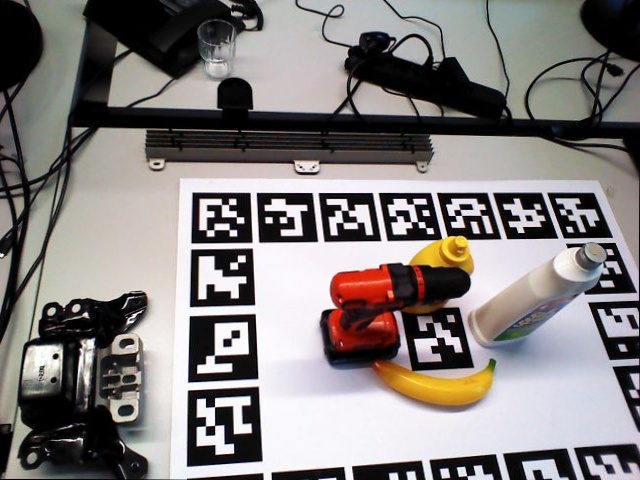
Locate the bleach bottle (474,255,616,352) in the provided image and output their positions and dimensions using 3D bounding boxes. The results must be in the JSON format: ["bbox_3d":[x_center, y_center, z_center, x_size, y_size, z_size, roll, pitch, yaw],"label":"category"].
[{"bbox_3d":[0.319,0.090,0.735,0.102,0.252,0.067,-7,64,-13],"label":"bleach bottle"}]

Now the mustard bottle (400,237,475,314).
[{"bbox_3d":[0.183,0.049,0.761,0.096,0.192,0.058,1,61,-10],"label":"mustard bottle"}]

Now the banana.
[{"bbox_3d":[0.187,0.210,0.759,0.197,0.039,0.074,2,65,-6],"label":"banana"}]

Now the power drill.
[{"bbox_3d":[0.090,0.092,0.700,0.184,0.188,0.057,-1,55,-13],"label":"power drill"}]
